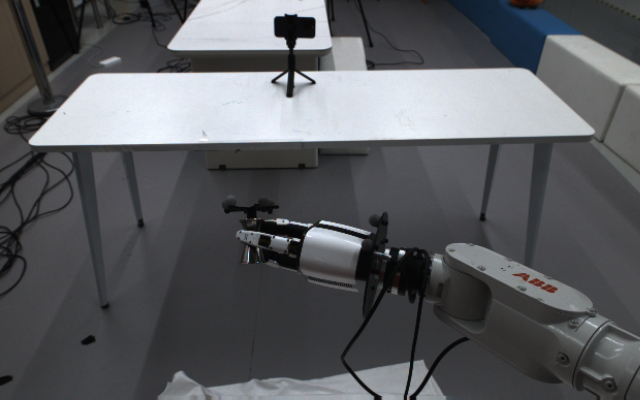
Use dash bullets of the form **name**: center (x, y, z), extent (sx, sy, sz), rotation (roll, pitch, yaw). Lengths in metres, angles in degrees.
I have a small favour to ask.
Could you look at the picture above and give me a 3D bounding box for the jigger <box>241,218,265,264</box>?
- **jigger**: center (-0.105, 0.064, 0.747), extent (0.043, 0.071, 0.043), rotation (-2, -7, 0)
